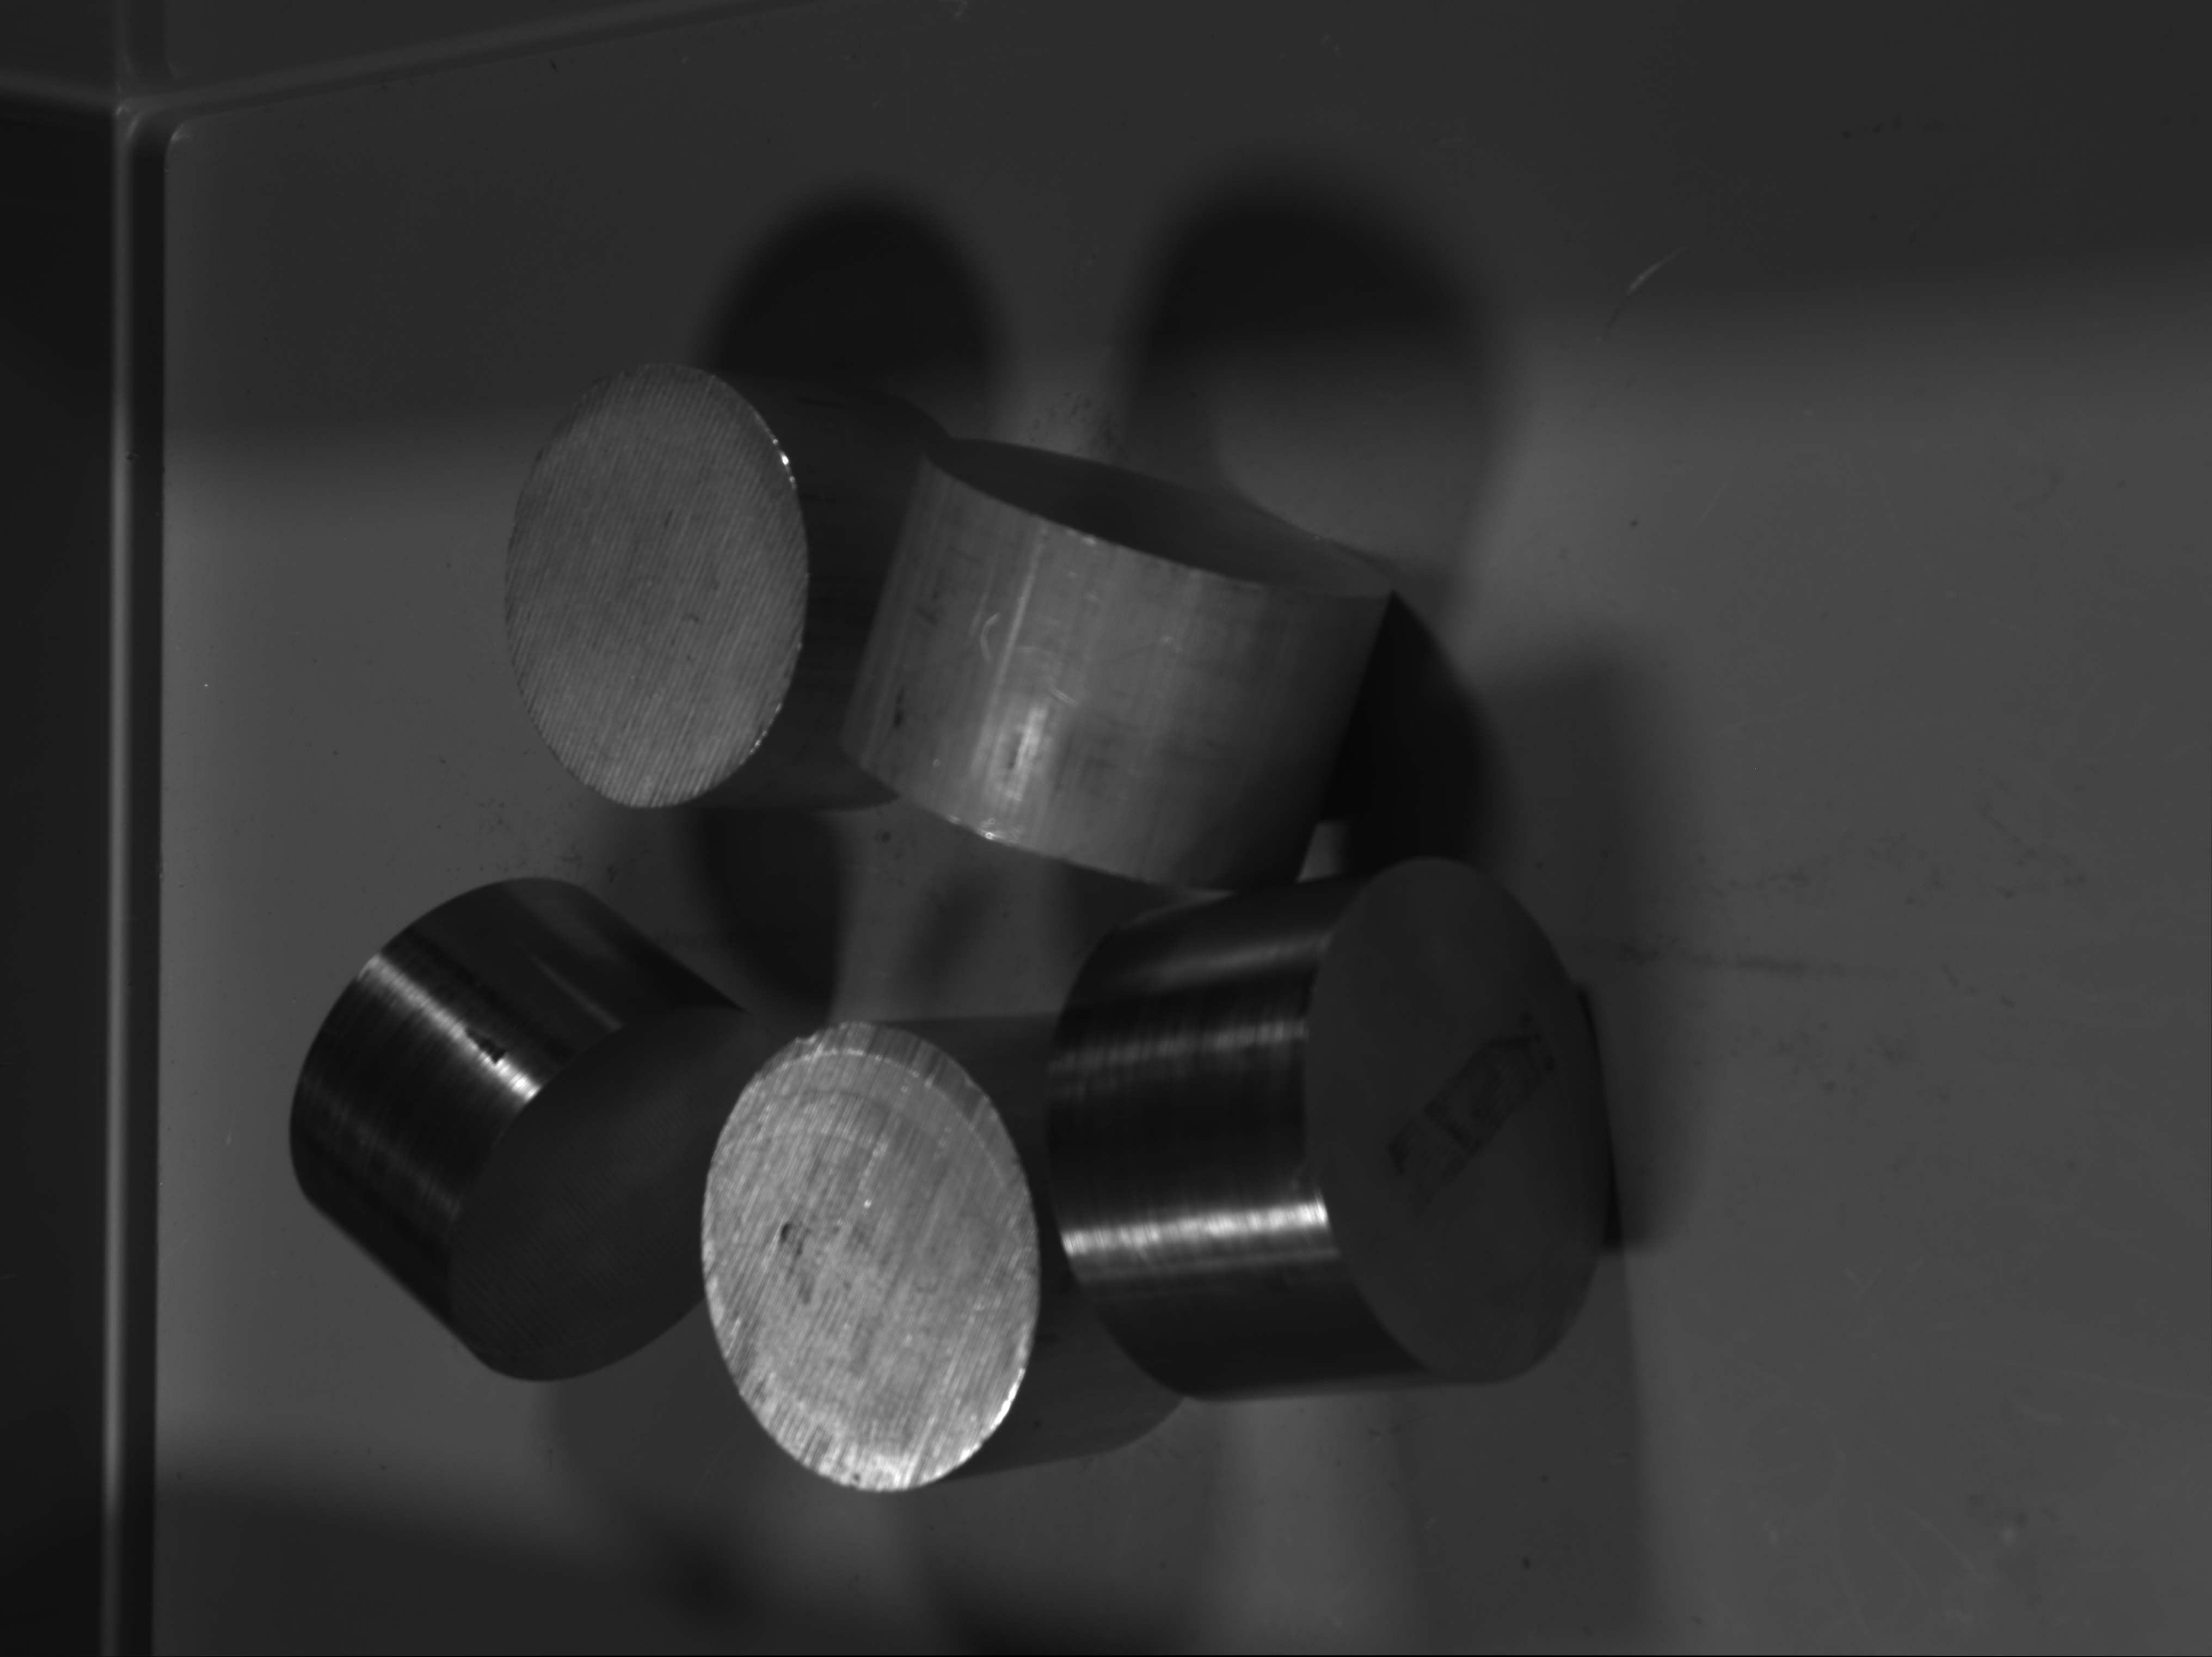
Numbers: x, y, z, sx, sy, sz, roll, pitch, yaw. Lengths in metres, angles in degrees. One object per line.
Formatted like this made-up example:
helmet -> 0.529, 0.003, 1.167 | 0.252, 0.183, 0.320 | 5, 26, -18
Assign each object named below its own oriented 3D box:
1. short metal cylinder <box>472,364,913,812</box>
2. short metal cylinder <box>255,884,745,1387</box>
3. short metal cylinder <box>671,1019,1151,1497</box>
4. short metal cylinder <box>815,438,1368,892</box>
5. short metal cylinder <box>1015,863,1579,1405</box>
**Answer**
short metal cylinder -> -0.072, -0.043, 0.677 | 0.080, 0.050, 0.080 | 0, 90, 39
short metal cylinder -> -0.112, 0.058, 0.690 | 0.050, 0.080, 0.080 | 33, 110, 35
short metal cylinder -> -0.030, 0.074, 0.643 | 0.080, 0.050, 0.080 | 0, 90, 39
short metal cylinder -> -0.003, -0.028, 0.603 | 0.080, 0.080, 0.050 | 27, 107, 36
short metal cylinder -> 0.031, 0.049, 0.573 | 0.050, 0.080, 0.080 | -12, 82, 39
